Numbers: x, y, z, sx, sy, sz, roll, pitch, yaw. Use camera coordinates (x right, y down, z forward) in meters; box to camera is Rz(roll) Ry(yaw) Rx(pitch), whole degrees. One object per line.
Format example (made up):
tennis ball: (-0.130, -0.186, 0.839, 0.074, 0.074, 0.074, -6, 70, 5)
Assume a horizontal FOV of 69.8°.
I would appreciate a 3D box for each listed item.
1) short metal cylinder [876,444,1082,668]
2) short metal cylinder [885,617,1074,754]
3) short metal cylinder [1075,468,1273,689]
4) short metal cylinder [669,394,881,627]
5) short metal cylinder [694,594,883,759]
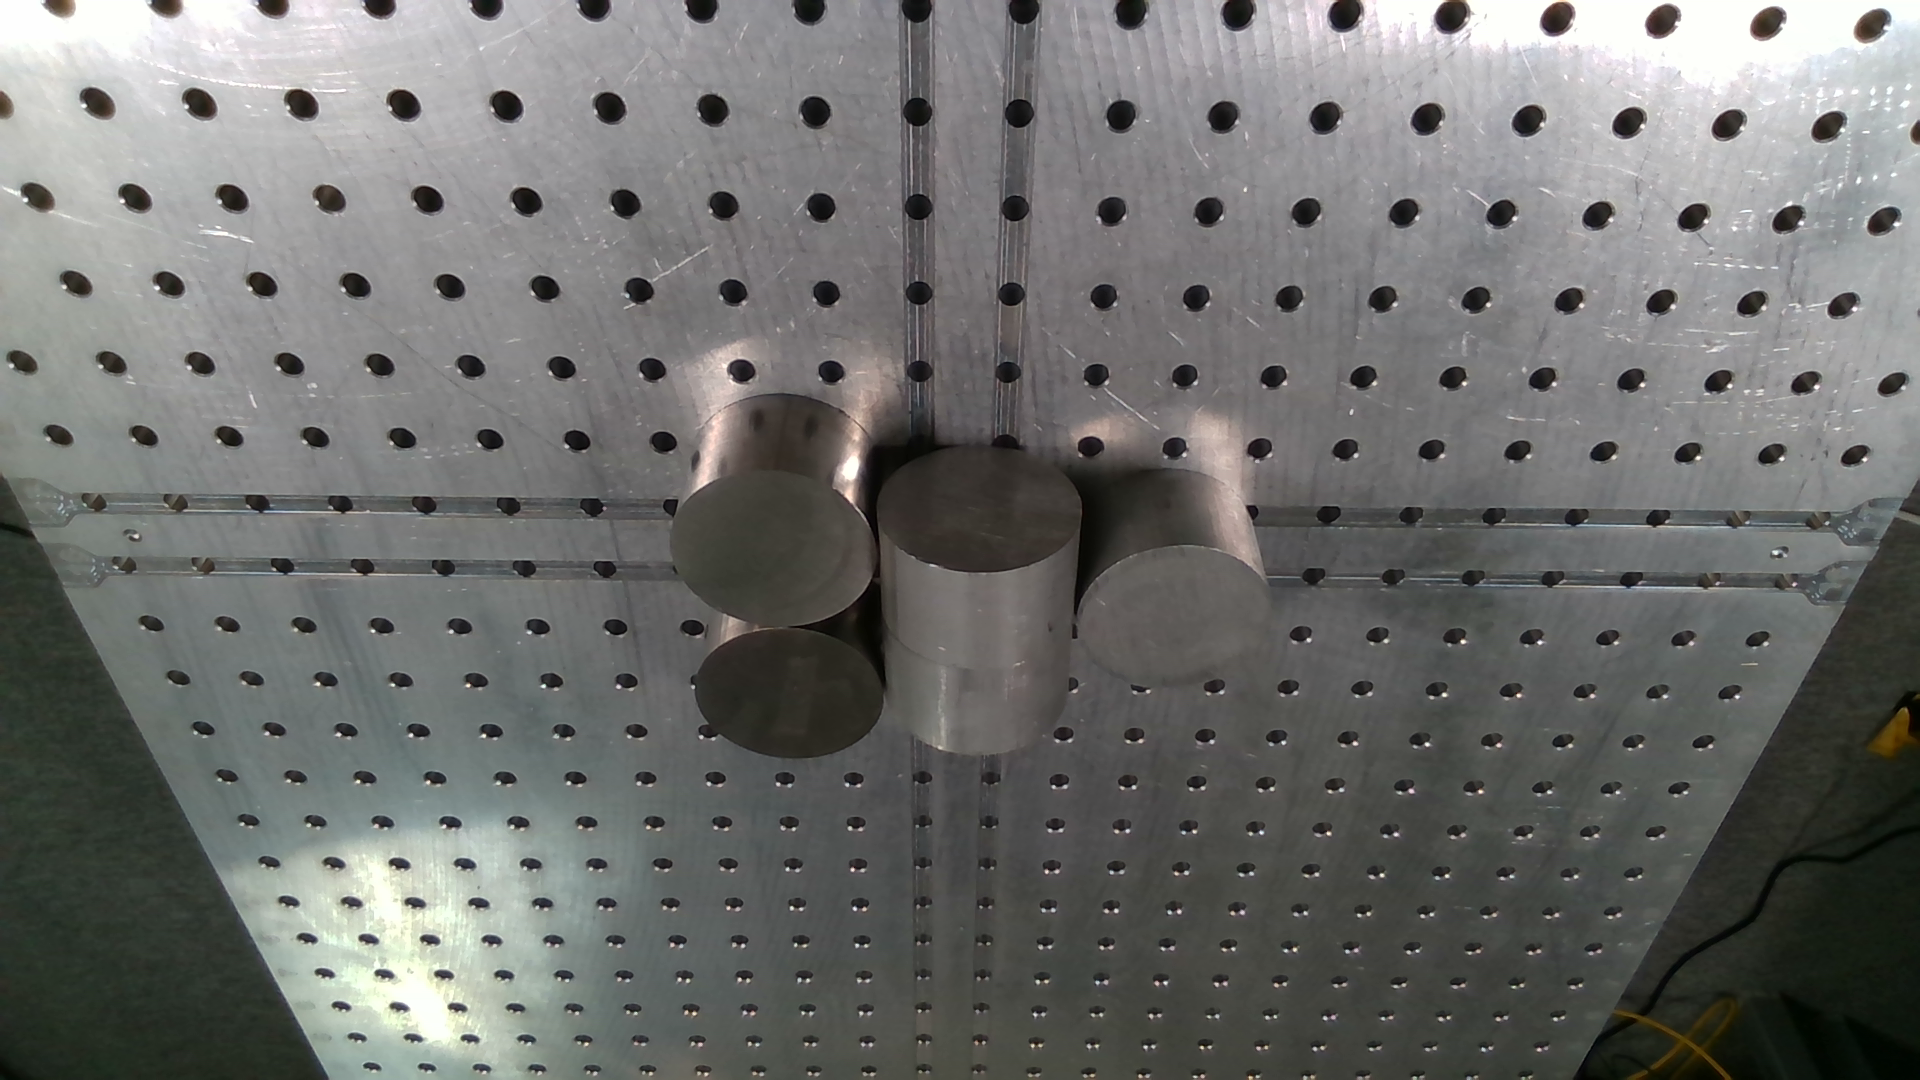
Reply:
short metal cylinder: (0.007, 0.005, 0.551, 0.080, 0.080, 0.050, 0, 130, 0)
short metal cylinder: (0.007, 0.044, 0.584, 0.080, 0.080, 0.050, 0, 130, 0)
short metal cylinder: (0.087, 0.017, 0.580, 0.080, 0.050, 0.080, 0, 130, 0)
short metal cylinder: (-0.073, -0.011, 0.555, 0.080, 0.050, 0.080, 0, 130, 0)
short metal cylinder: (-0.073, 0.051, 0.607, 0.080, 0.050, 0.080, 0, 130, 0)
